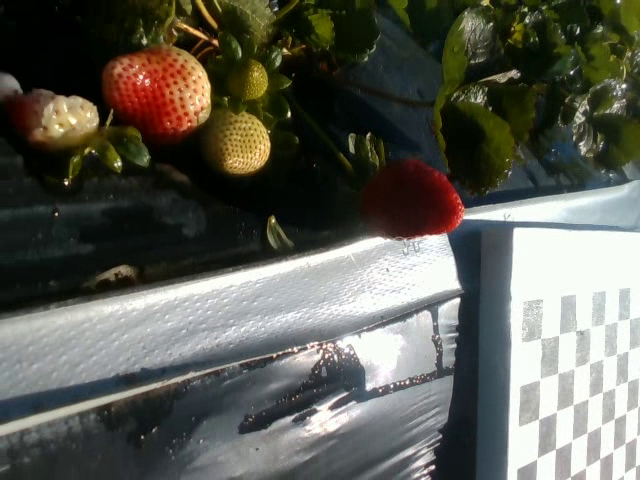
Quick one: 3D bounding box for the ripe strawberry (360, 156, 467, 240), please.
[{"bbox_3d":[0.034,-0.012,0.222,0.036,0.038,0.045,-2,17,-40],"label":"ripe strawberry"}]
